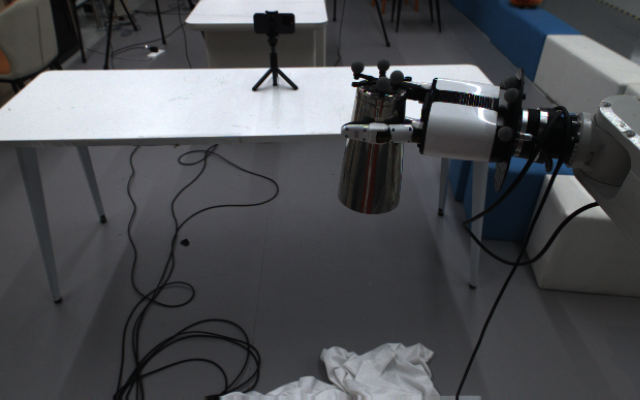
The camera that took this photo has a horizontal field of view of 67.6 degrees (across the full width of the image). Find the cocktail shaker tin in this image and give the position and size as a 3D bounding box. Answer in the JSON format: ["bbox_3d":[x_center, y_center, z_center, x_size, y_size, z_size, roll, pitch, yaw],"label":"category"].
[{"bbox_3d":[0.079,-0.080,0.682,0.093,0.170,0.093,2,33,-2],"label":"cocktail shaker tin"}]
